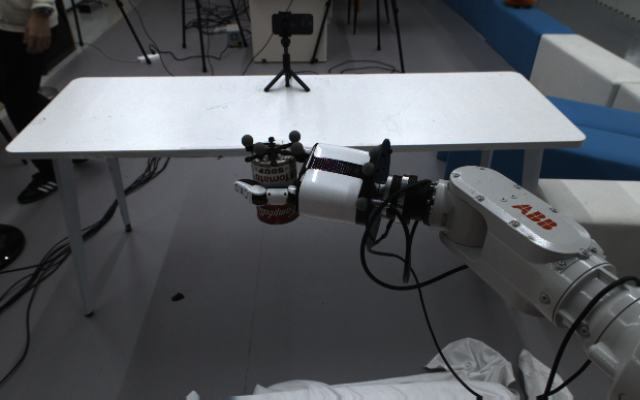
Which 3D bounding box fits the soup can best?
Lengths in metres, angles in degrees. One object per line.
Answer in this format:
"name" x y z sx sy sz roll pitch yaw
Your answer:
"soup can" -0.065 -0.023 0.720 0.067 0.101 0.067 -2 32 1
